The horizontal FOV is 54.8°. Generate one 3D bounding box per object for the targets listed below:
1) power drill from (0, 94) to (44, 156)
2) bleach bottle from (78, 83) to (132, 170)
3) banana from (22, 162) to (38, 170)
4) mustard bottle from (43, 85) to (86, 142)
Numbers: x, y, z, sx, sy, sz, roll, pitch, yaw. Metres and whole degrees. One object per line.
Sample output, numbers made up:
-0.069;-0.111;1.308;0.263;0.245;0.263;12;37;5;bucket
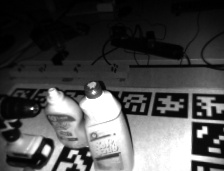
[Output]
-0.240;0.096;0.537;0.183;0.188;0.057;0;36;14;power drill
-0.021;0.096;0.469;0.102;0.253;0.067;-5;43;12;bleach bottle
-0.142;0.222;0.509;0.195;0.039;0.074;2;47;21;banana
-0.125;0.071;0.561;0.095;0.193;0.058;2;43;18;mustard bottle
